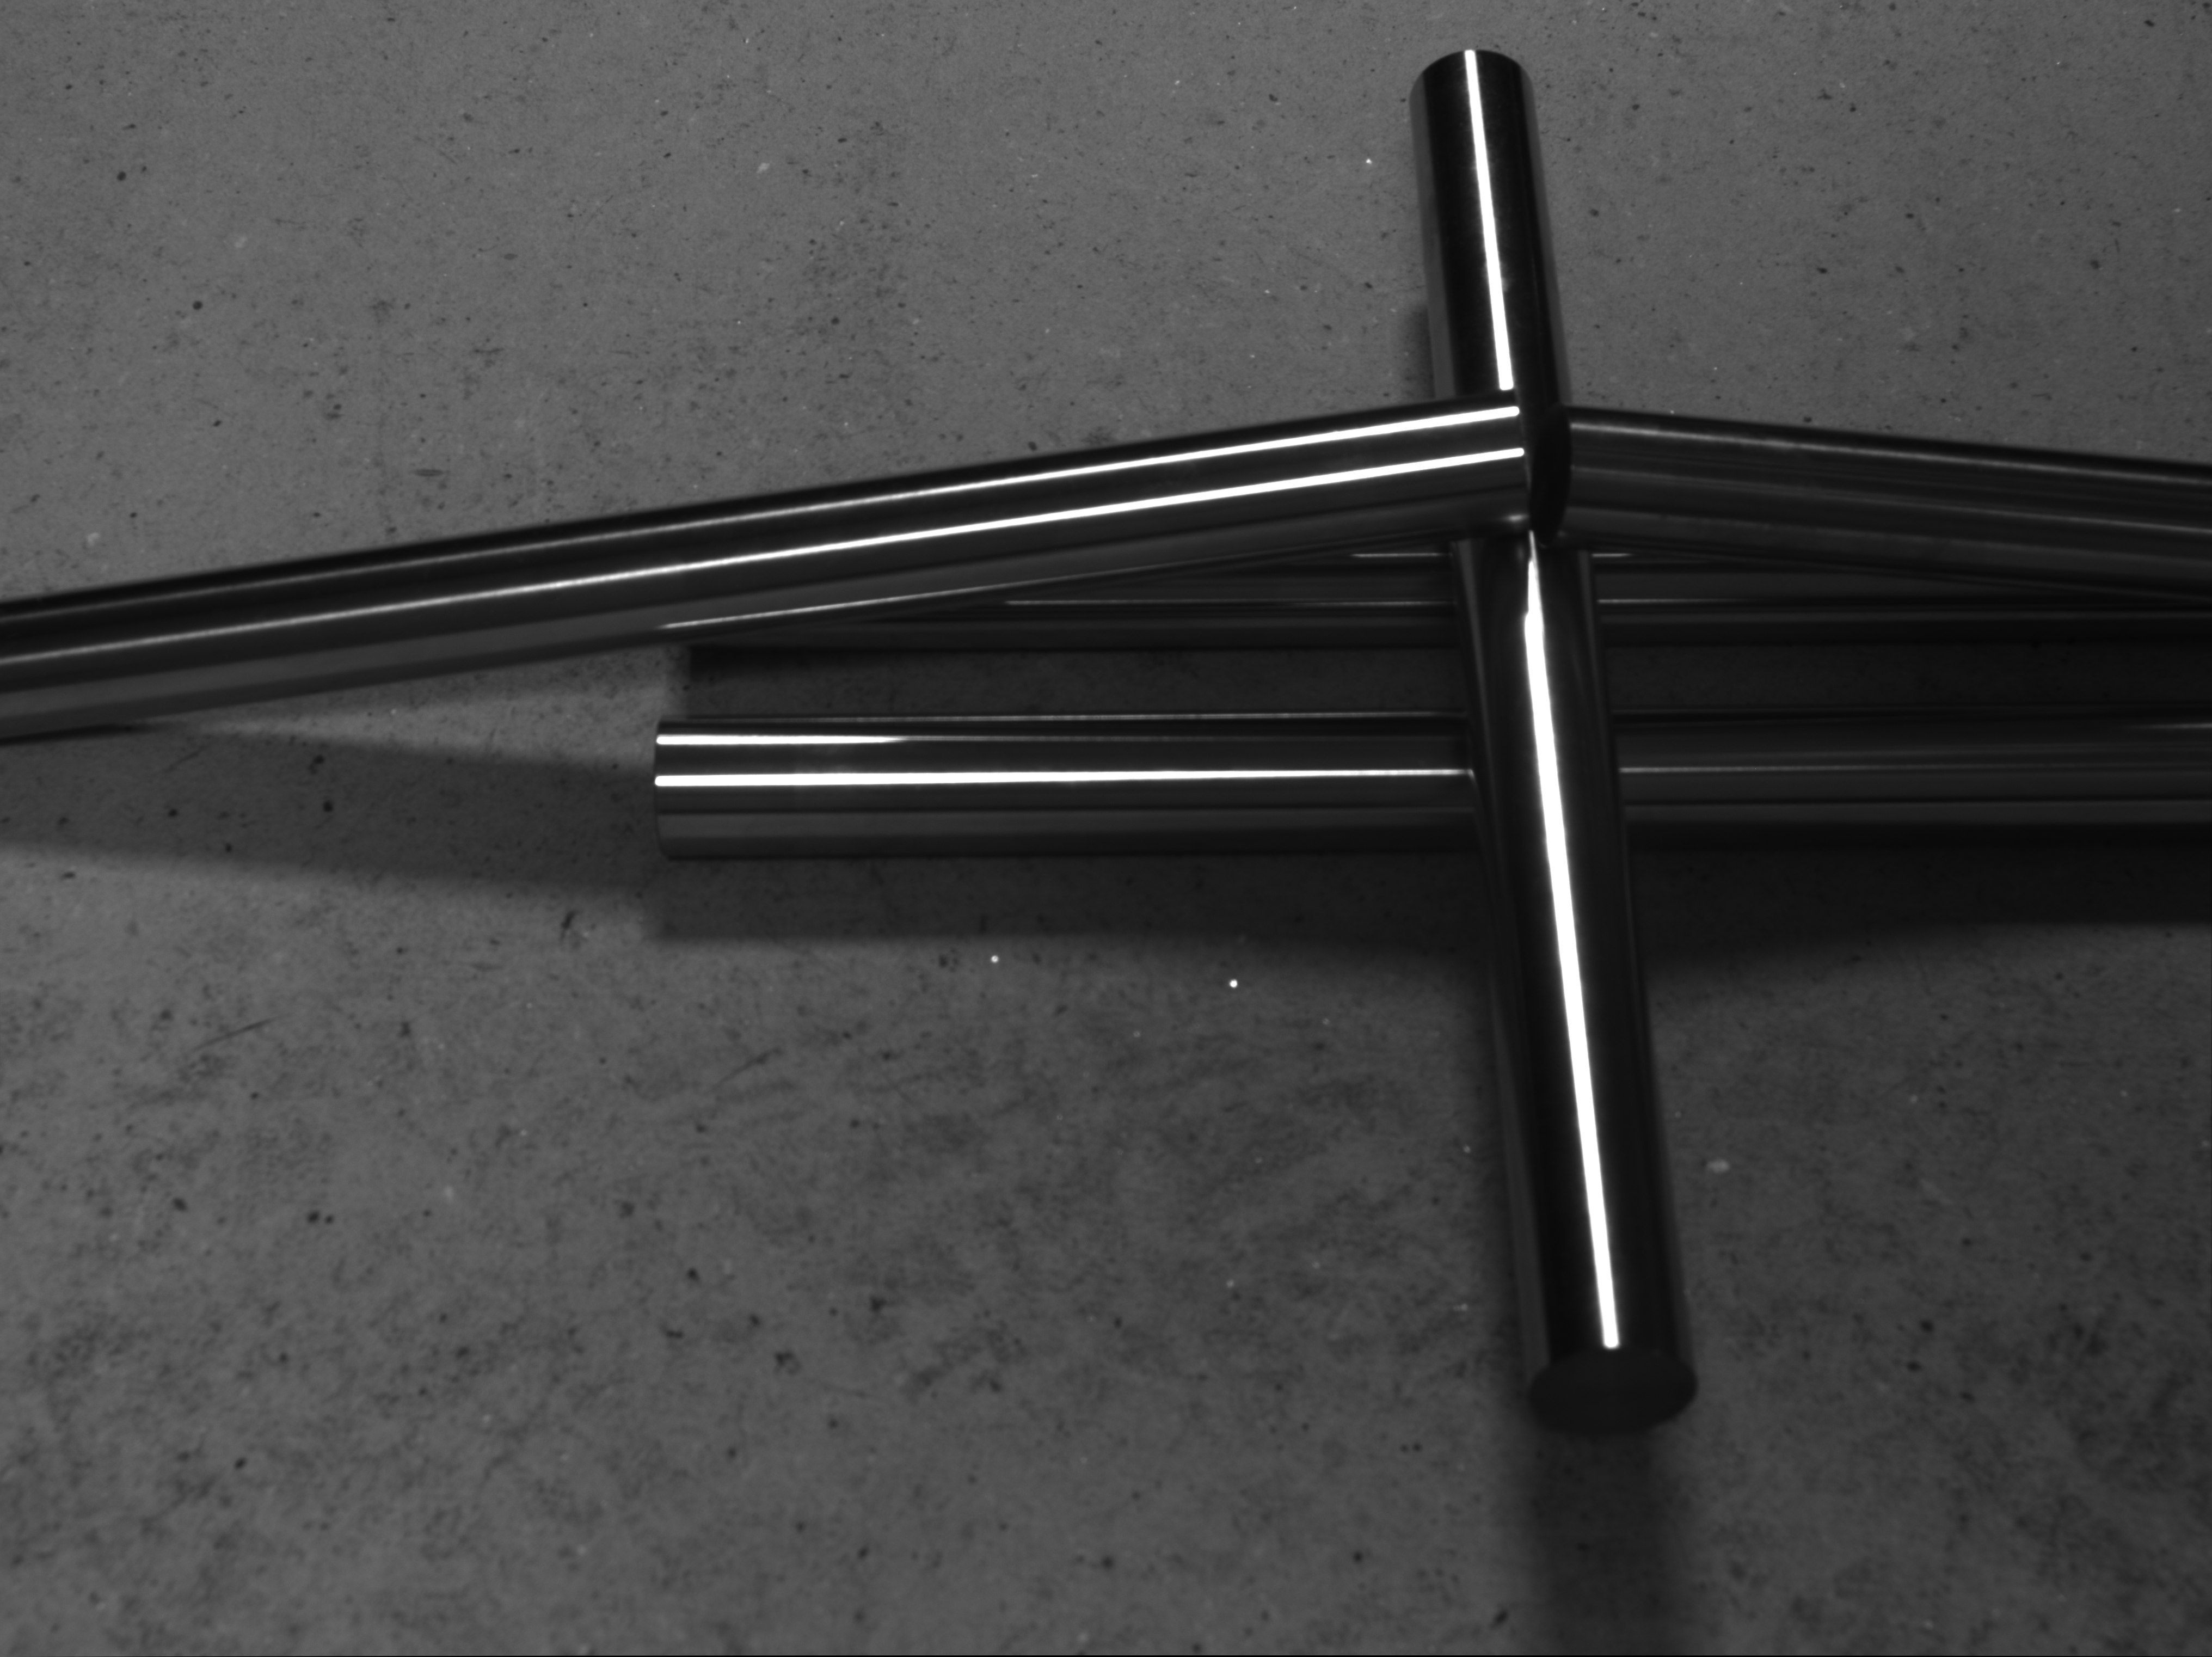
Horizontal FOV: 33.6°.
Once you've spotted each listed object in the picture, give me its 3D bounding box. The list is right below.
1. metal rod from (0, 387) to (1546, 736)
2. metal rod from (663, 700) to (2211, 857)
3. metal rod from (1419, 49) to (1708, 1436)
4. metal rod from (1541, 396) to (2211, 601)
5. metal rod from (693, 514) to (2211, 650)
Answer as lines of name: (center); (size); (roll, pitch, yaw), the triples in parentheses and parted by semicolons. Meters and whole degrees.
metal rod: (-0.074, -0.045, 0.647); (0.300, 0.025, 0.025); (-7, 49, 6)
metal rod: (0.073, -0.009, 0.649); (0.300, 0.025, 0.025); (-1, 50, -1)
metal rod: (0.076, -0.031, 0.636); (0.025, 0.025, 0.300); (0, 50, 0)
metal rod: (0.225, -0.051, 0.653); (0.300, 0.025, 0.025); (4, 49, -10)
metal rod: (0.073, -0.047, 0.682); (0.300, 0.025, 0.025); (-1, 50, -1)
